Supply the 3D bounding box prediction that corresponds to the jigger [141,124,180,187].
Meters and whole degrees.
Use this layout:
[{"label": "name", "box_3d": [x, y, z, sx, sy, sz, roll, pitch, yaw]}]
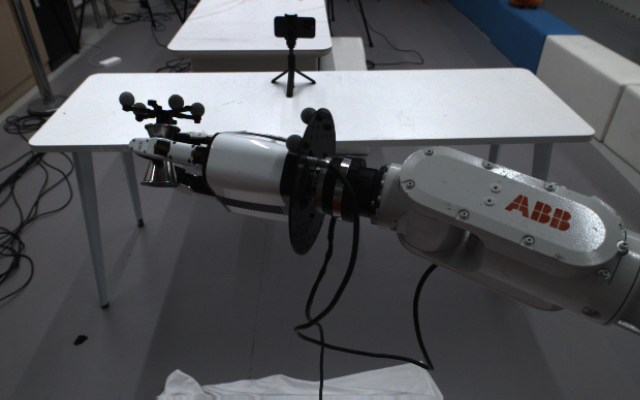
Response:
[{"label": "jigger", "box_3d": [-0.184, -0.050, 0.563, 0.043, 0.071, 0.043, 0, -4, 0]}]
